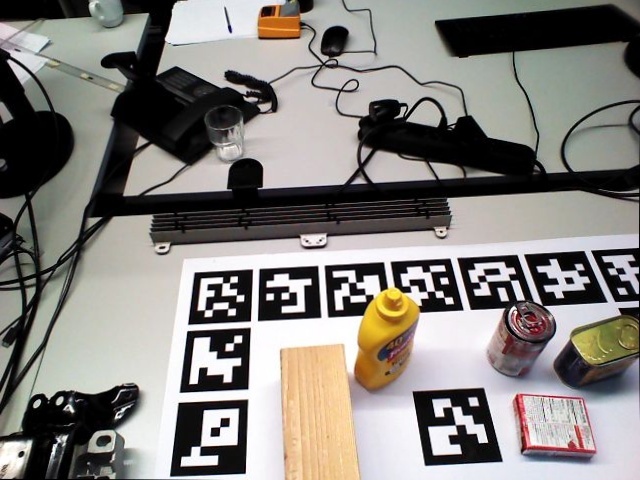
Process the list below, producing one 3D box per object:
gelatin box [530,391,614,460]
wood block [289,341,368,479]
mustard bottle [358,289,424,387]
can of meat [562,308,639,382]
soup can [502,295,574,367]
[{"bbox_3d":[0.323,0.238,0.668,0.090,0.030,0.073,3,54,9],"label":"gelatin box"},{"bbox_3d":[0.009,0.241,0.656,0.091,0.090,0.205,-3,48,0],"label":"wood block"},{"bbox_3d":[0.099,0.123,0.683,0.096,0.192,0.058,-24,54,-16],"label":"mustard bottle"},{"bbox_3d":[0.394,0.146,0.707,0.102,0.084,0.057,-14,53,-10],"label":"can of meat"},{"bbox_3d":[0.295,0.123,0.708,0.068,0.102,0.067,-2,53,3],"label":"soup can"}]
